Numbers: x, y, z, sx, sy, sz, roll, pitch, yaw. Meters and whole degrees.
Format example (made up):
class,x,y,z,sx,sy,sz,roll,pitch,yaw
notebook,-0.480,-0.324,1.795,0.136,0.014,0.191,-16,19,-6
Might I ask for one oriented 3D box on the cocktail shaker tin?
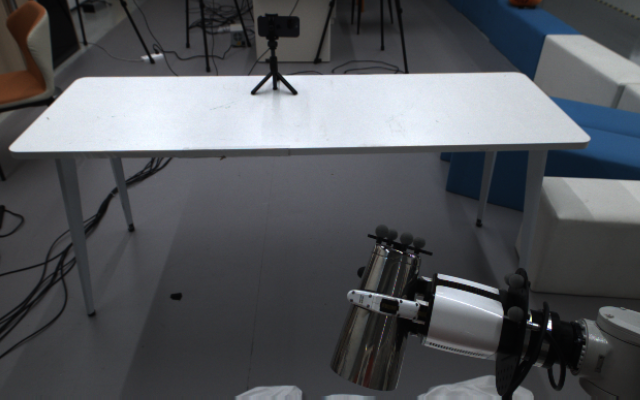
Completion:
class,x,y,z,sx,sy,sz,roll,pitch,yaw
cocktail shaker tin,0.080,0.149,0.641,0.093,0.170,0.093,17,-1,0
